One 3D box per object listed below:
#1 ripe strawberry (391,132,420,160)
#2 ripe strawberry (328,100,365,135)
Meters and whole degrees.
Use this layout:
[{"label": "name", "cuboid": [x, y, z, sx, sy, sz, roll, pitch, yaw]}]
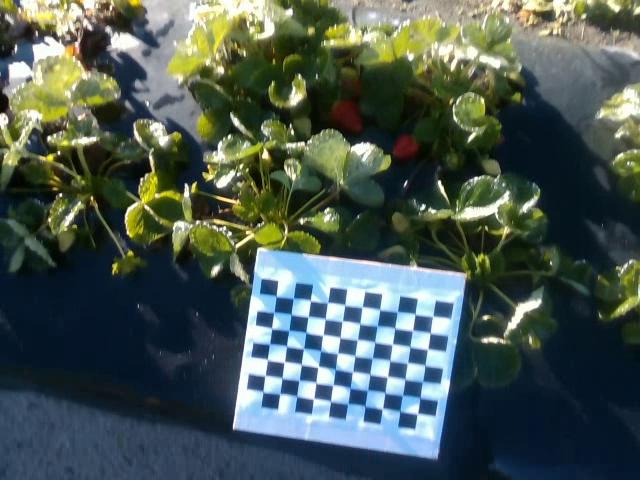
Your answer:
[{"label": "ripe strawberry", "cuboid": [0.117, -0.126, 1.137, 0.047, 0.039, 0.040, -42, -8, -19]}, {"label": "ripe strawberry", "cuboid": [0.040, -0.175, 1.160, 0.044, 0.056, 0.040, -32, -9, -6]}]
